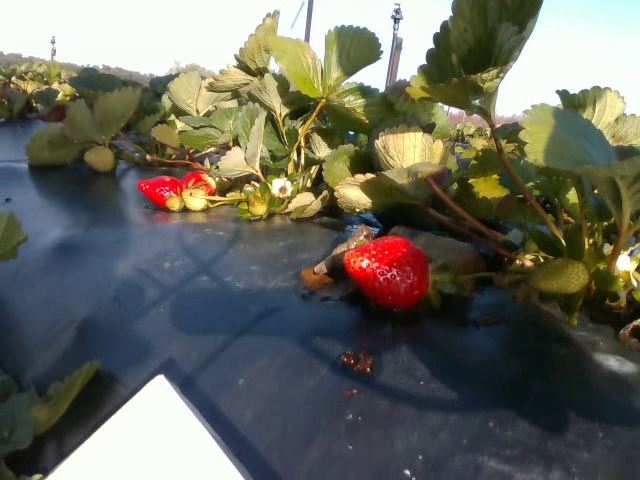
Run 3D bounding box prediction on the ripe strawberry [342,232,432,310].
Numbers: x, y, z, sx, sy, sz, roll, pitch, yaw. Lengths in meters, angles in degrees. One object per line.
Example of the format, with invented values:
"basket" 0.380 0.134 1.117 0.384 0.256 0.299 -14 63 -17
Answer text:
"ripe strawberry" 0.022 0.013 0.269 0.054 0.037 0.047 9 26 -22
